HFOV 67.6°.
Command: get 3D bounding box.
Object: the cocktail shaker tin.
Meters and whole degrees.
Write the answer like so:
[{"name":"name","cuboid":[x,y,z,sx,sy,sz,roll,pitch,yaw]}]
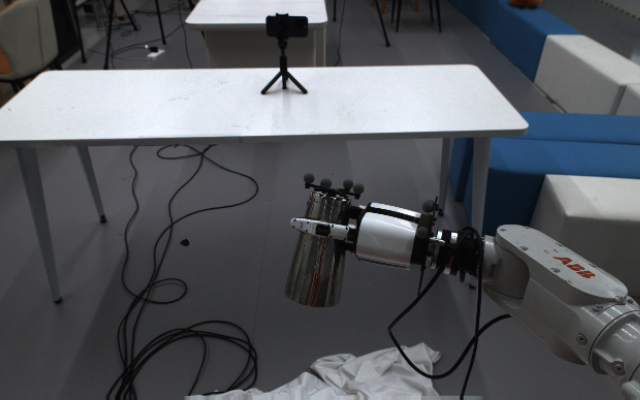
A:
[{"name":"cocktail shaker tin","cuboid":[0.005,0.071,0.778,0.093,0.170,0.093,10,9,-2]}]
